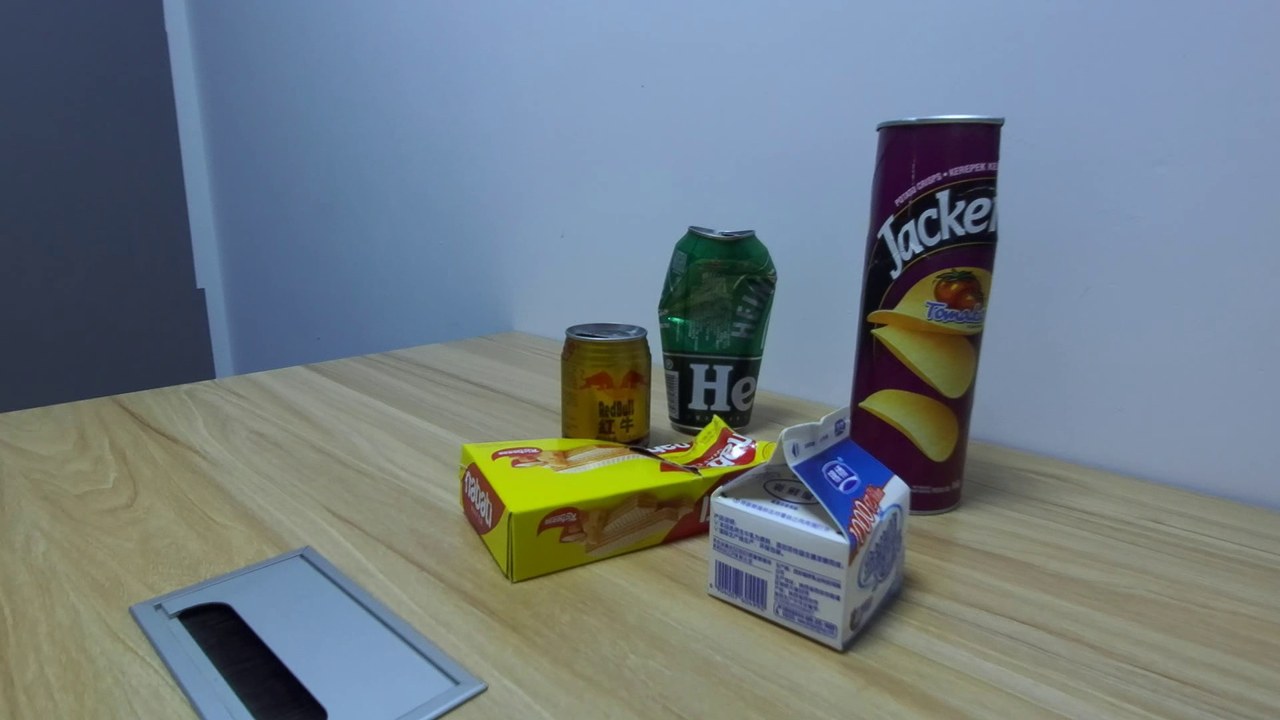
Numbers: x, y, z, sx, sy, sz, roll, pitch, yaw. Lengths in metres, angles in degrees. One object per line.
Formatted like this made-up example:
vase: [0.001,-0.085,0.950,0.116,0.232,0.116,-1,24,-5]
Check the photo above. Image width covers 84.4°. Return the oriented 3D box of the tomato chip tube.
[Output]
tomato chip tube: [0.177,-0.027,0.444,0.076,0.235,0.078,7,15,25]

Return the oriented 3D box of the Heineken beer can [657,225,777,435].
Heineken beer can: [0.058,-0.022,0.567,0.066,0.164,0.077,-12,21,-43]

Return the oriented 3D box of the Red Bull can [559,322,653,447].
Red Bull can: [-0.025,0.024,0.523,0.067,0.093,0.067,1,13,0]

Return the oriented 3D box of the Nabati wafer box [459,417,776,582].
Nabati wafer box: [0.002,0.073,0.437,0.205,0.042,0.106,-5,16,-29]

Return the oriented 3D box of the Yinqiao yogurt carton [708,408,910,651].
Yinqiao yogurt carton: [0.083,0.070,0.339,0.073,0.092,0.076,11,16,39]
